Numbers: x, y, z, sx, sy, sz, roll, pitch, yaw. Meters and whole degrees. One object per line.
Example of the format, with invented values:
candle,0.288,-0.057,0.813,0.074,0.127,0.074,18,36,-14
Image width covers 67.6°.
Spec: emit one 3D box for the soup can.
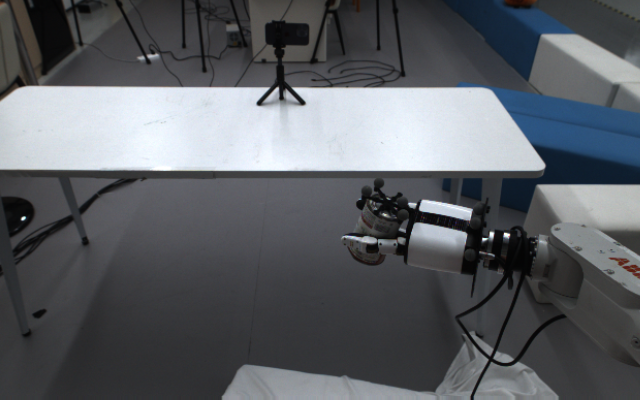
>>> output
soup can,0.093,0.050,0.796,0.067,0.101,0.067,13,34,-9
